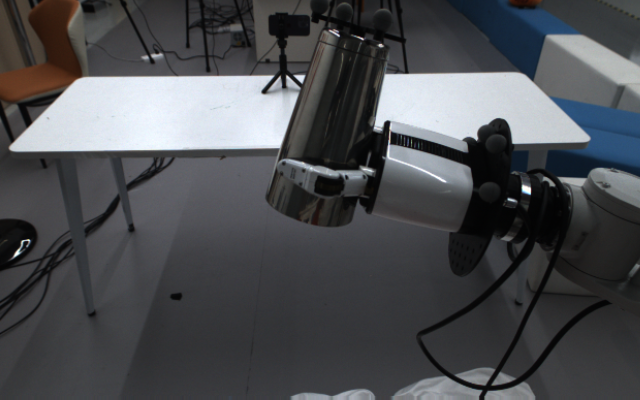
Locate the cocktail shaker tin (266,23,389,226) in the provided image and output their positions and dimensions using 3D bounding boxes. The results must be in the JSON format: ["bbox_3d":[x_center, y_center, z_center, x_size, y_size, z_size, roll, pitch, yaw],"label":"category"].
[{"bbox_3d":[0.013,-0.070,0.469,0.093,0.170,0.093,14,20,-5],"label":"cocktail shaker tin"}]
